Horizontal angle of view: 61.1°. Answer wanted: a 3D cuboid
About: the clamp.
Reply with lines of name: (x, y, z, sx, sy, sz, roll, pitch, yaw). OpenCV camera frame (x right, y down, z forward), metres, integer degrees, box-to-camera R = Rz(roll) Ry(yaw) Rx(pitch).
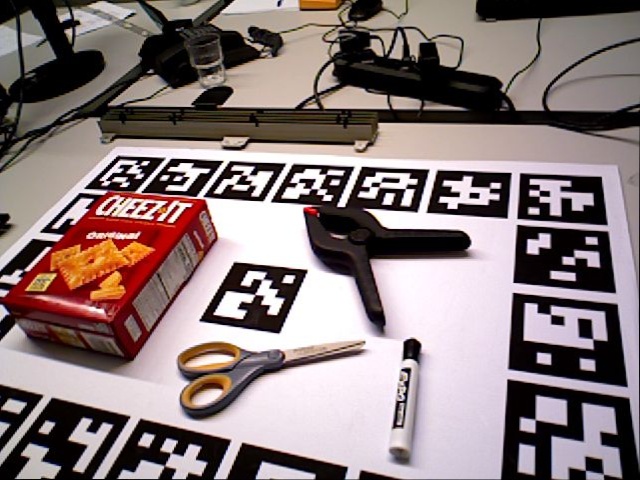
clamp: (0.048, 0.001, 0.675, 0.162, 0.037, 0.203, -35, 45, -28)

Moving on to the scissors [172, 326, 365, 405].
scissors: (-0.052, 0.113, 0.559, 0.201, 0.016, 0.086, -13, 38, -5)

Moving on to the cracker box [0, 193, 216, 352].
cracker box: (-0.253, 0.026, 0.674, 0.165, 0.073, 0.209, 5, 42, 20)

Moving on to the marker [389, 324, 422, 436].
marker: (0.082, 0.126, 0.509, 0.020, 0.020, 0.118, 2, 41, 16)
